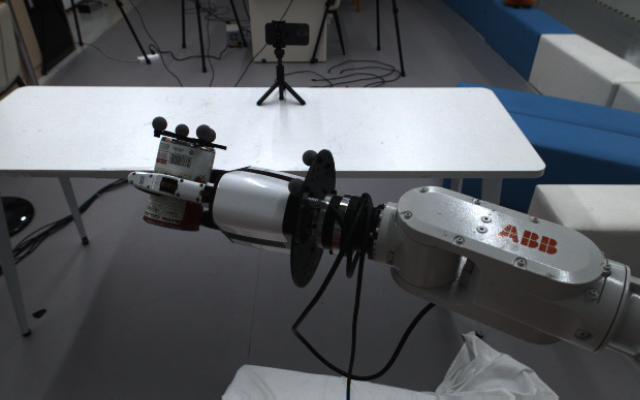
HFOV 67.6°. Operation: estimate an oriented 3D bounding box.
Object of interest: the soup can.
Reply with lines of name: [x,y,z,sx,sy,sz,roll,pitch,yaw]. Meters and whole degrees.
soup can: [-0.169,-0.018,0.588,0.067,0.101,0.067,13,1,0]
